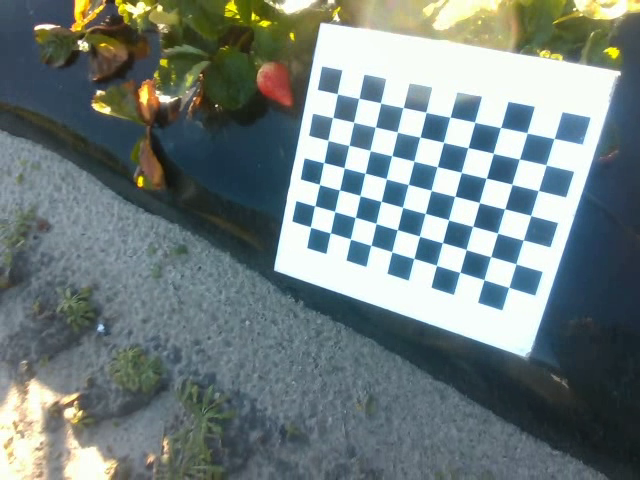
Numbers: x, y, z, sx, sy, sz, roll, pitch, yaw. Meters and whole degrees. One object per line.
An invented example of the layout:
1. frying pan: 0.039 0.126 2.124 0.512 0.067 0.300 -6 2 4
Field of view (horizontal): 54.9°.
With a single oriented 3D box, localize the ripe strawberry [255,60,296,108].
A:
1. ripe strawberry: -0.055 -0.182 0.722 0.040 0.065 0.040 -36 -7 22
